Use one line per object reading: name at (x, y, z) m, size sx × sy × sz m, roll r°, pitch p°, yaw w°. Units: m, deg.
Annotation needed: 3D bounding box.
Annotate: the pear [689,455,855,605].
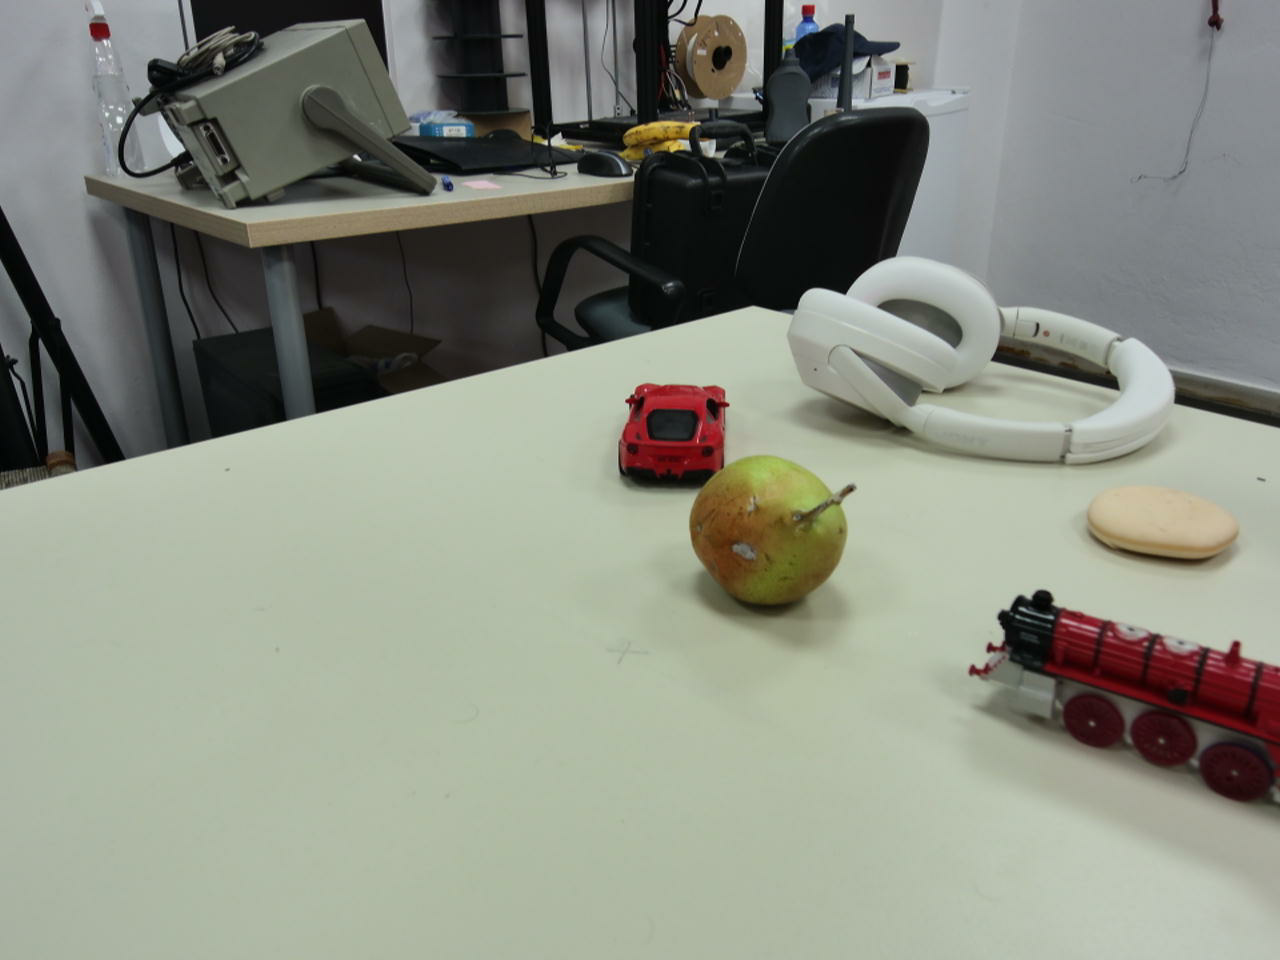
pear at (0.055, 0.019, 0.431) m, size 0.068 × 0.069 × 0.070 m, roll 5°, pitch 22°, yaw 11°
